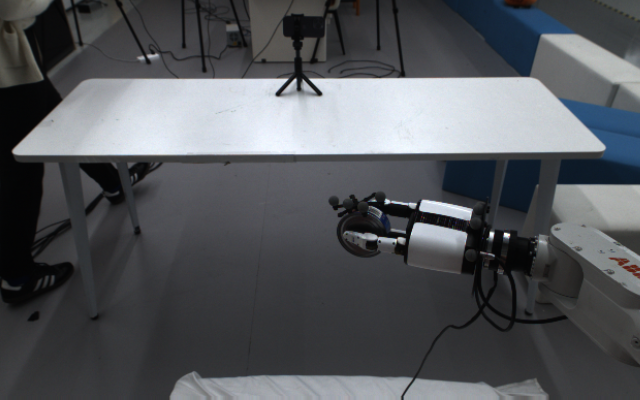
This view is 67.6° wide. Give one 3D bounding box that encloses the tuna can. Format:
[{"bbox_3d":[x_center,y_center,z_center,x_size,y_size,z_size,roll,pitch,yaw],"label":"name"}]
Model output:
[{"bbox_3d":[0.074,0.050,0.802,0.085,0.085,0.034,13,29,15],"label":"tuna can"}]
